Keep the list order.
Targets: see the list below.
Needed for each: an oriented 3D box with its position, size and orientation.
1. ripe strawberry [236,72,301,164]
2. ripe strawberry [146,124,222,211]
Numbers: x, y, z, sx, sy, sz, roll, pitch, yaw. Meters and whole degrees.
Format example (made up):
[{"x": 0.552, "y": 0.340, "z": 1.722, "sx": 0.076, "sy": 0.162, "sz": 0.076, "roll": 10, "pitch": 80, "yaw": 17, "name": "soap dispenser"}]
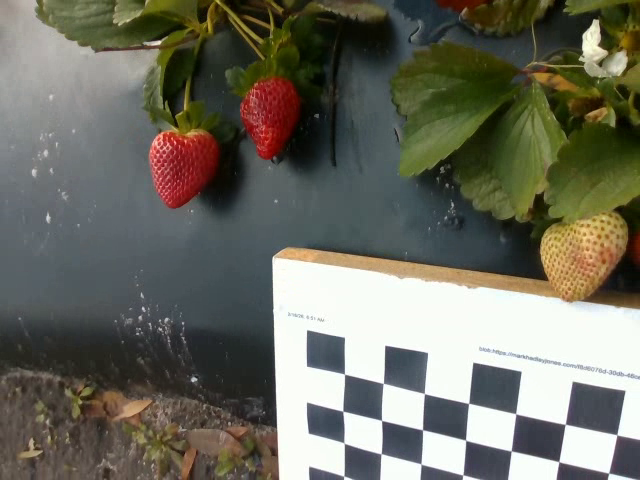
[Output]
[{"x": -0.033, "y": -0.072, "z": 0.350, "sx": 0.042, "sy": 0.053, "sz": 0.034, "roll": -9, "pitch": -21, "yaw": 30, "name": "ripe strawberry"}, {"x": -0.088, "y": -0.045, "z": 0.375, "sx": 0.050, "sy": 0.061, "sz": 0.045, "roll": -3, "pitch": -22, "yaw": 28, "name": "ripe strawberry"}]
